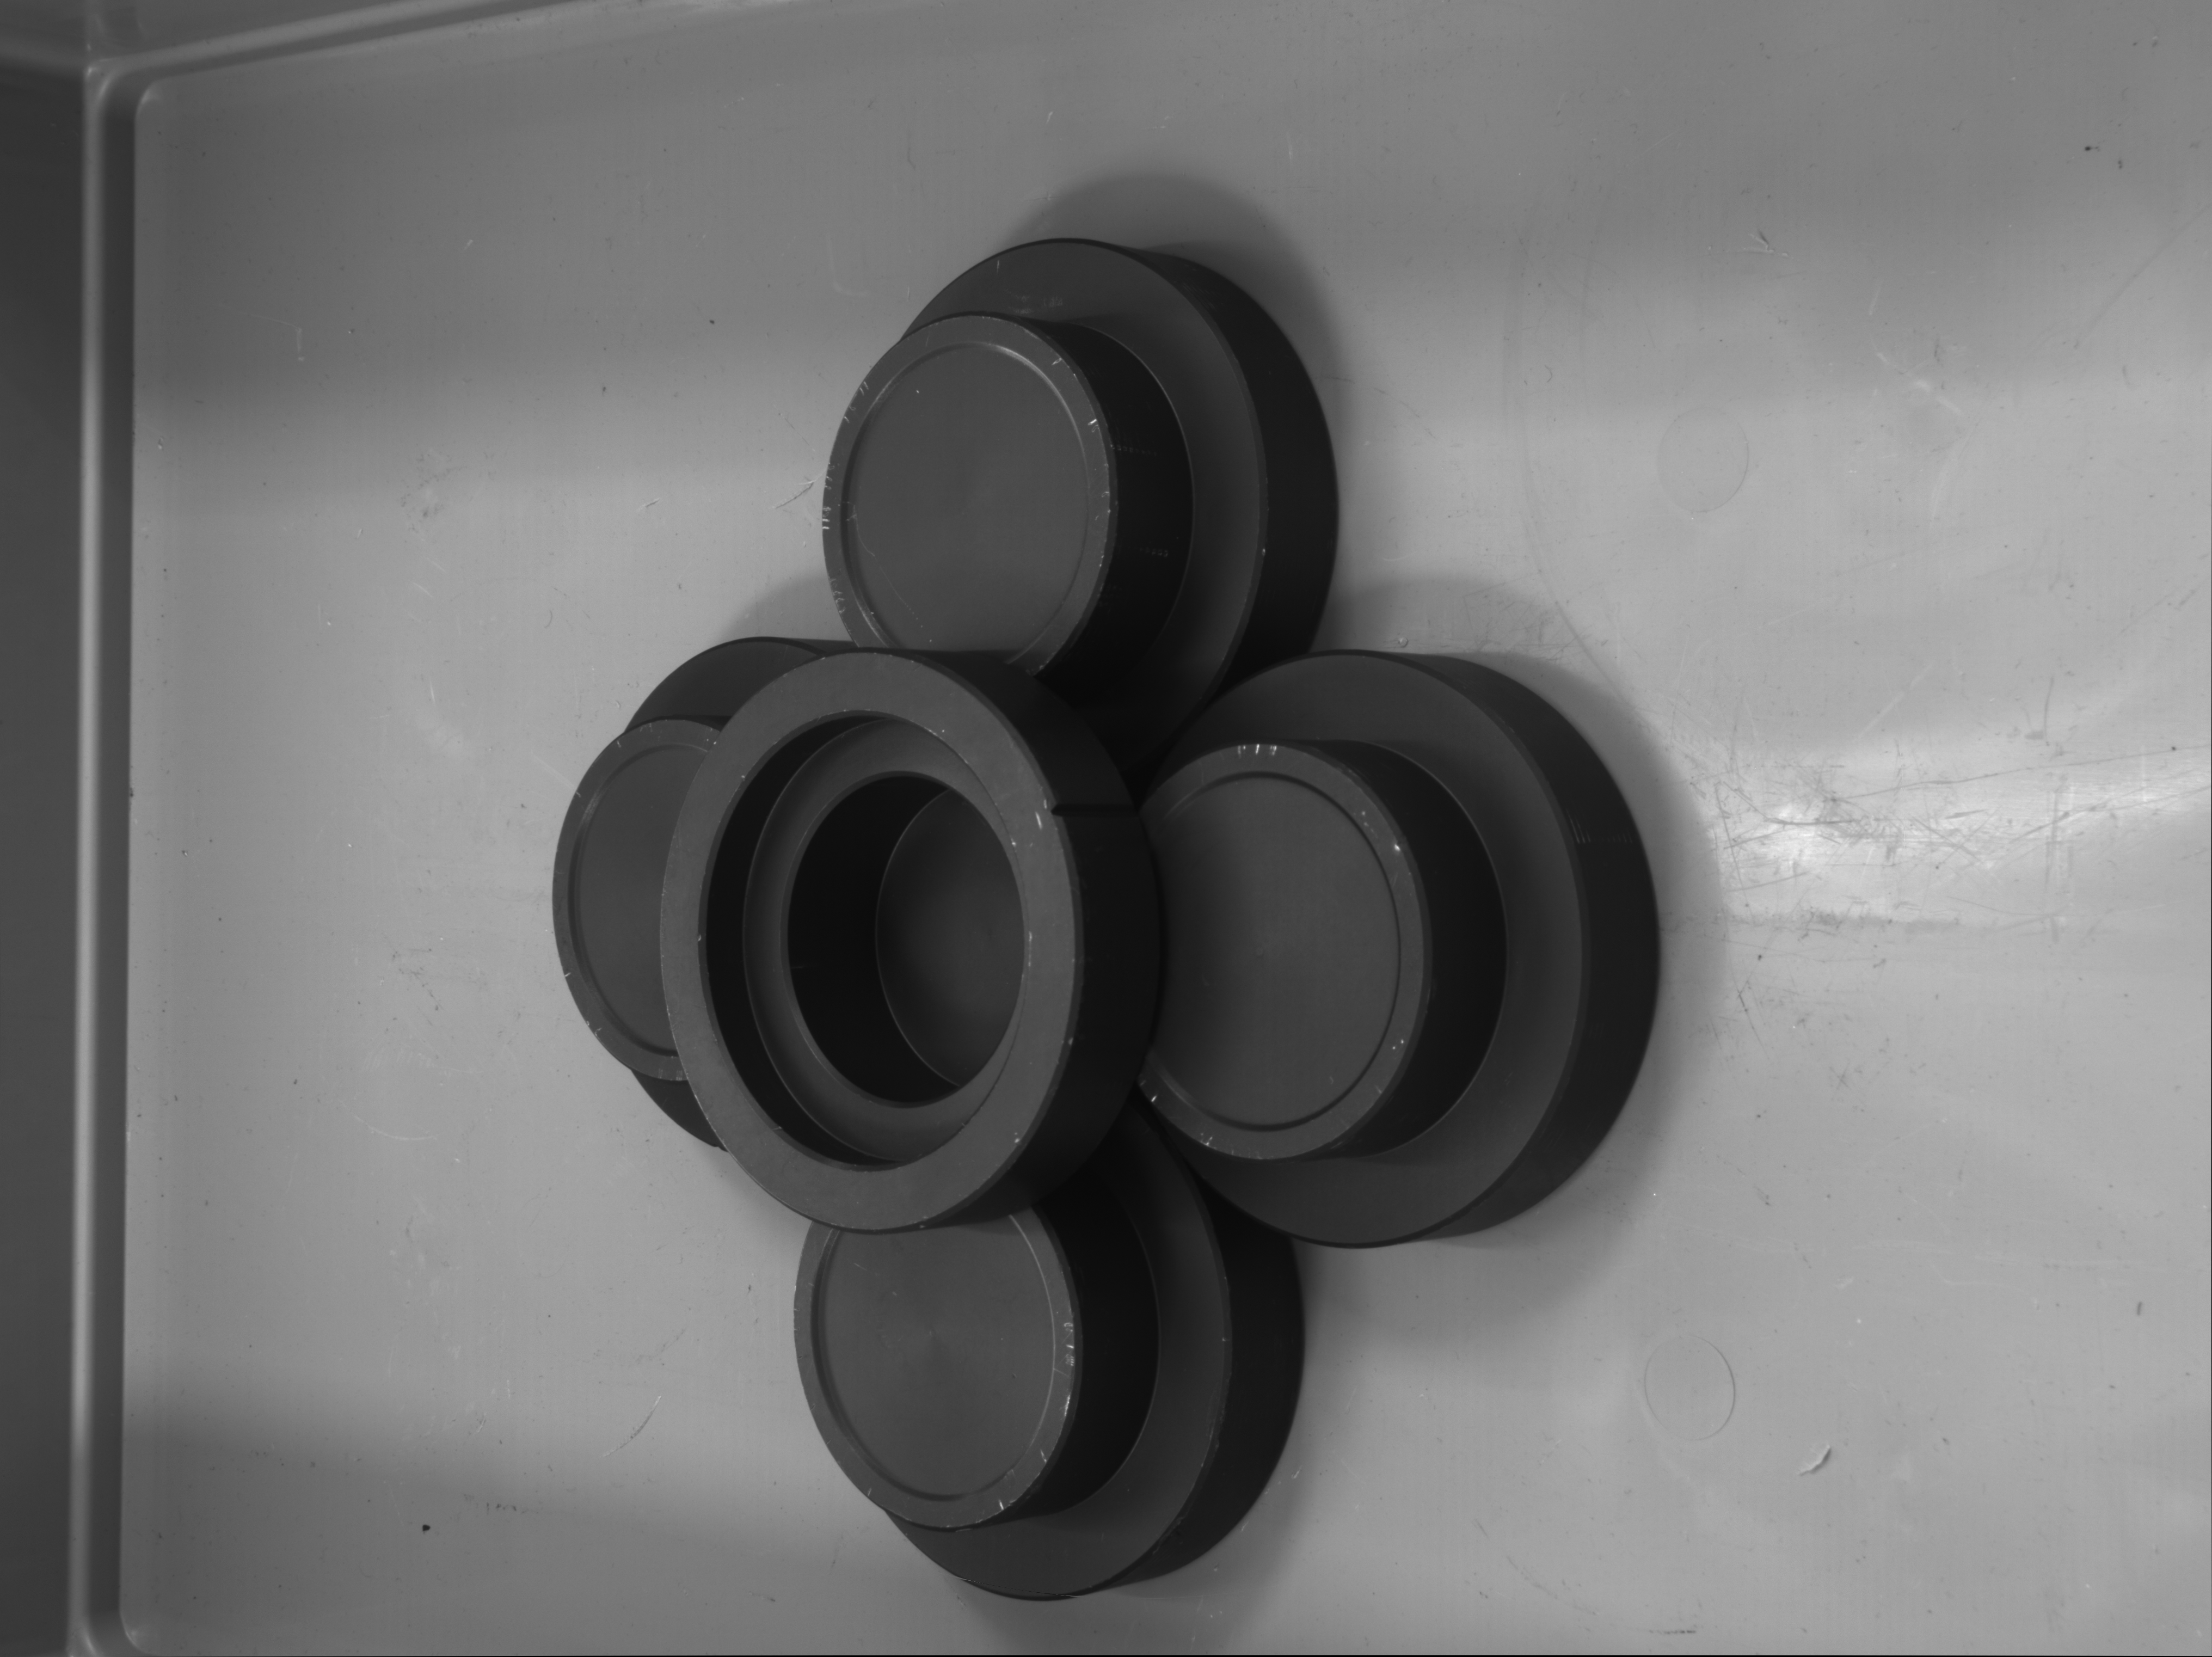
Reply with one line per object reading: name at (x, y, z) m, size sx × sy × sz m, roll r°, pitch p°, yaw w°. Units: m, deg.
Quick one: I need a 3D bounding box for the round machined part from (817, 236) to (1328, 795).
round machined part at (-0.012, -0.054, 0.641) m, size 0.098 × 0.042 × 0.098 m, roll 0°, pitch 90°, yaw 40°

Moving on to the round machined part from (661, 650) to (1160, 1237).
round machined part at (-0.028, 0.019, 0.628) m, size 0.098 × 0.042 × 0.098 m, roll 0°, pitch 90°, yaw 40°

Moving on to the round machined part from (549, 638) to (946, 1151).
round machined part at (-0.066, 0.013, 0.687) m, size 0.098 × 0.042 × 0.098 m, roll 0°, pitch 90°, yaw 40°

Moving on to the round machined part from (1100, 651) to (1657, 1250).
round machined part at (0.038, 0.020, 0.600) m, size 0.098 × 0.042 × 0.098 m, roll 0°, pitch 90°, yaw 40°

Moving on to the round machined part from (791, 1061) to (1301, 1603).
round machined part at (-0.017, 0.087, 0.646) m, size 0.098 × 0.042 × 0.098 m, roll -2°, pitch 87°, yaw 39°
